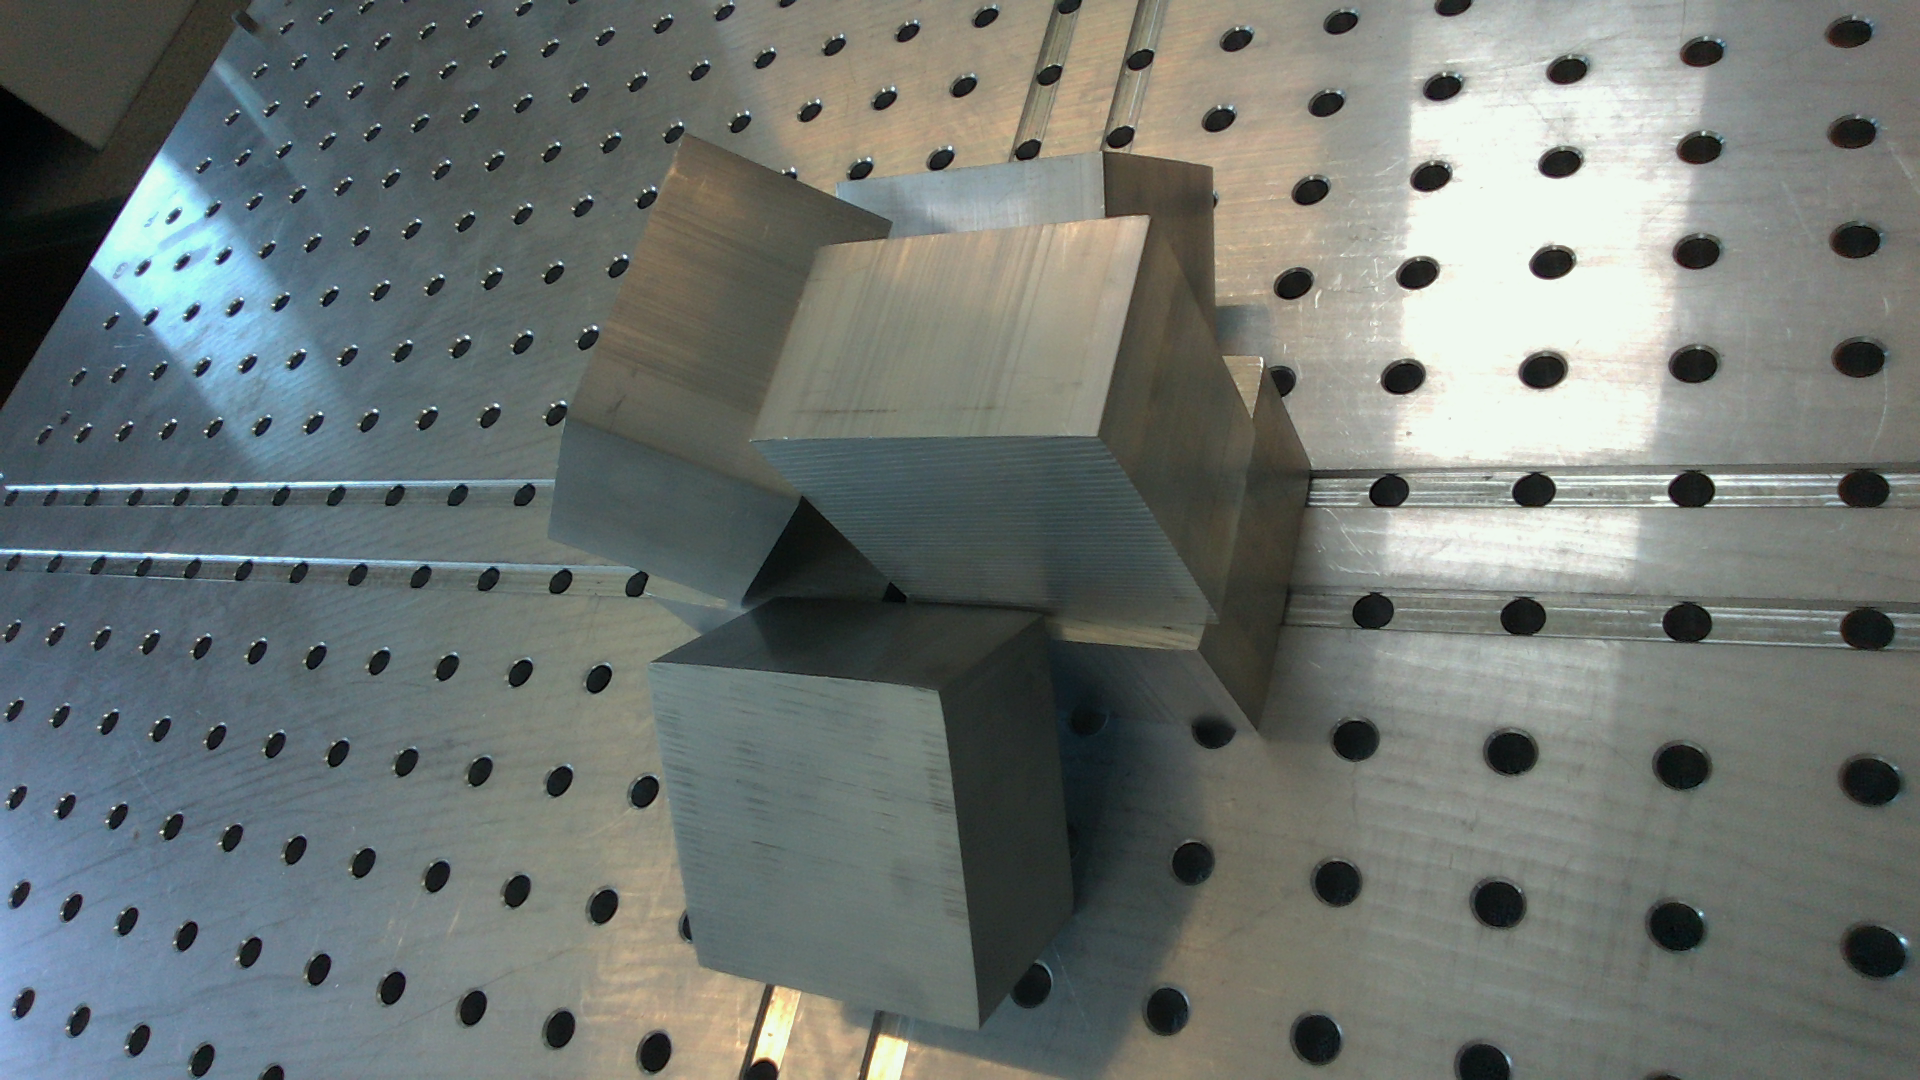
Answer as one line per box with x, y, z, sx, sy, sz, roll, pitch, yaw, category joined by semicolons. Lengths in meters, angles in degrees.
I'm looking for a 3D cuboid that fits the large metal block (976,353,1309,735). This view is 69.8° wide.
0.040;0.000;0.359;0.080;0.050;0.080;3;63;30;large metal block

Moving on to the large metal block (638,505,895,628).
-0.033;-0.004;0.401;0.080;0.050;0.080;7;65;32;large metal block

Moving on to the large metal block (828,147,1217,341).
0.020;-0.078;0.389;0.080;0.080;0.050;2;101;29;large metal block

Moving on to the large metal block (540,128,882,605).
-0.064;-0.039;0.345;0.050;0.080;0.080;21;66;-12;large metal block

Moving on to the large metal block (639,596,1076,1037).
-0.023;0.061;0.328;0.080;0.050;0.080;2;107;30;large metal block

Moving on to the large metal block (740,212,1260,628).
0.013;-0.023;0.303;0.080;0.080;0.050;2;62;29;large metal block
